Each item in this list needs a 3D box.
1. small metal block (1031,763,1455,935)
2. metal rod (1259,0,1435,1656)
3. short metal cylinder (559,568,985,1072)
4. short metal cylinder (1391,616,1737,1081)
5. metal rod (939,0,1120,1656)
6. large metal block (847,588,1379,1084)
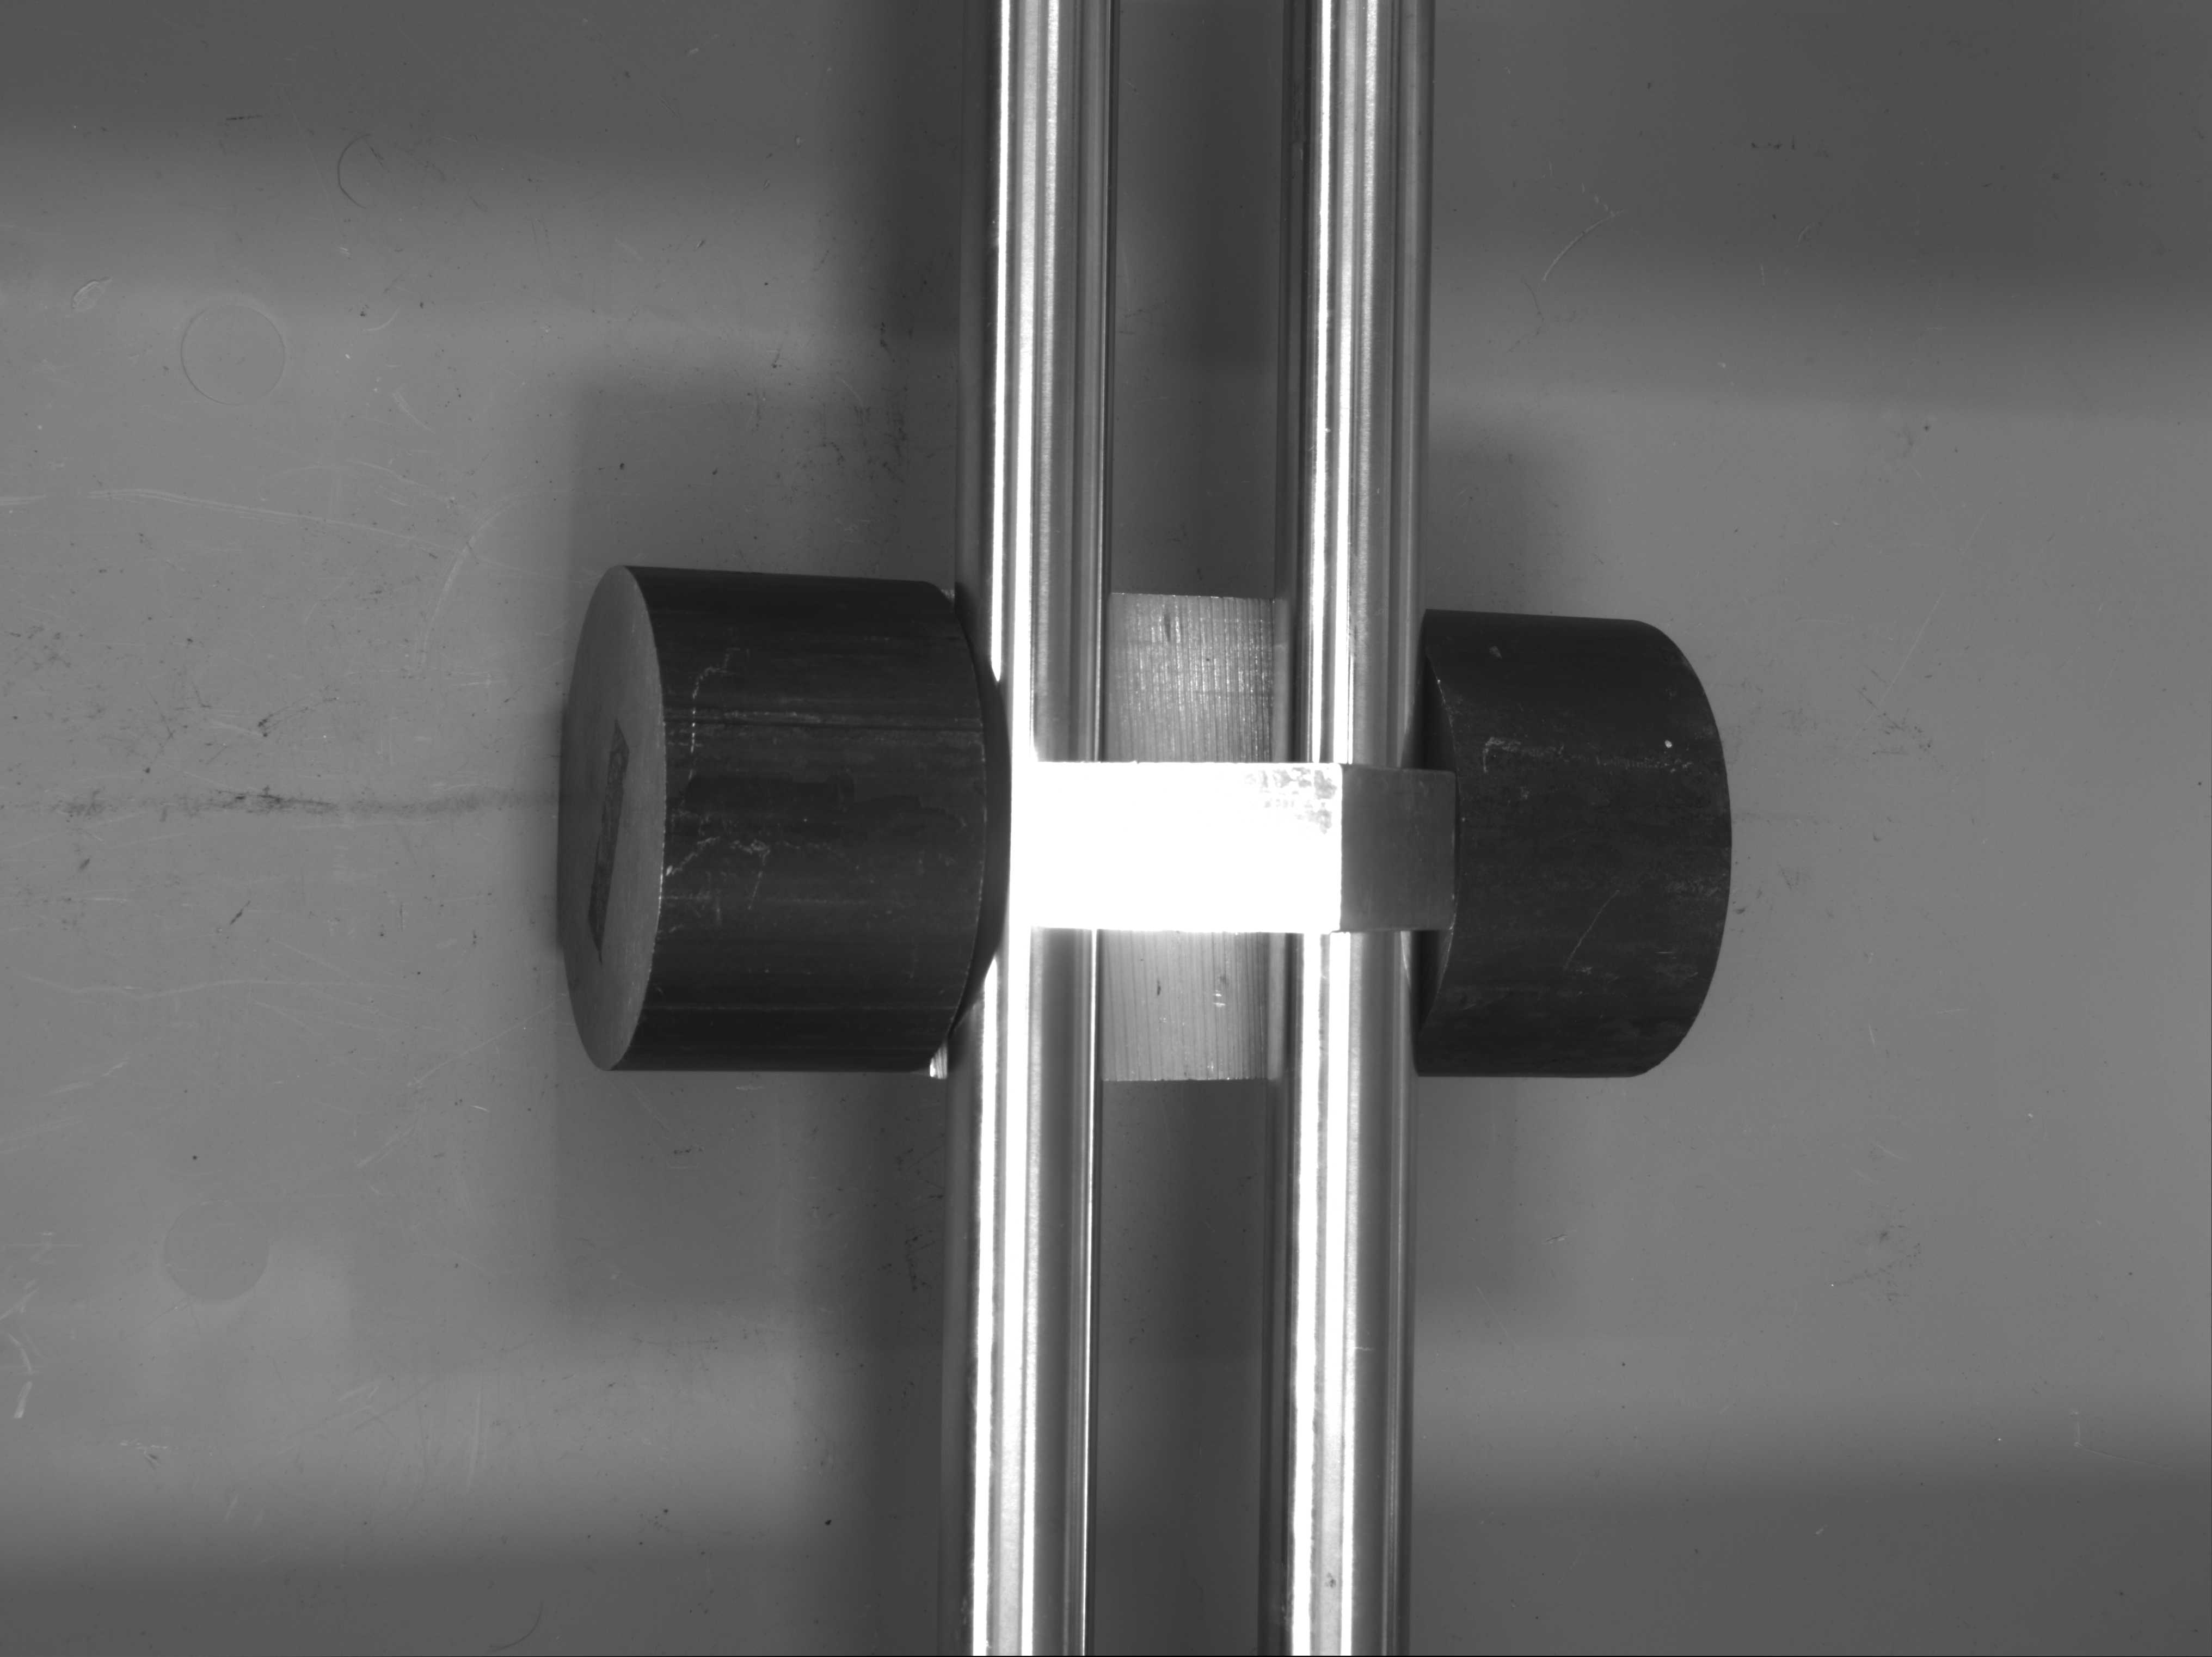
[{"bbox_3d":[0.022,0.003,0.570,0.050,0.050,0.025,1,90,25],"label":"small metal block"},{"bbox_3d":[0.040,0.004,0.604,0.025,0.025,0.300,1,90,-20],"label":"metal rod"},{"bbox_3d":[-0.056,-0.001,0.593,0.050,0.080,0.080,2,89,-20],"label":"short metal cylinder"},{"bbox_3d":[0.068,0.004,0.637,0.050,0.080,0.080,1,90,-19],"label":"short metal cylinder"},{"bbox_3d":[-0.012,0.005,0.585,0.025,0.025,0.300,1,90,-20],"label":"metal rod"},{"bbox_3d":[0.001,0.002,0.629,0.080,0.050,0.080,1,90,-20],"label":"large metal block"}]
